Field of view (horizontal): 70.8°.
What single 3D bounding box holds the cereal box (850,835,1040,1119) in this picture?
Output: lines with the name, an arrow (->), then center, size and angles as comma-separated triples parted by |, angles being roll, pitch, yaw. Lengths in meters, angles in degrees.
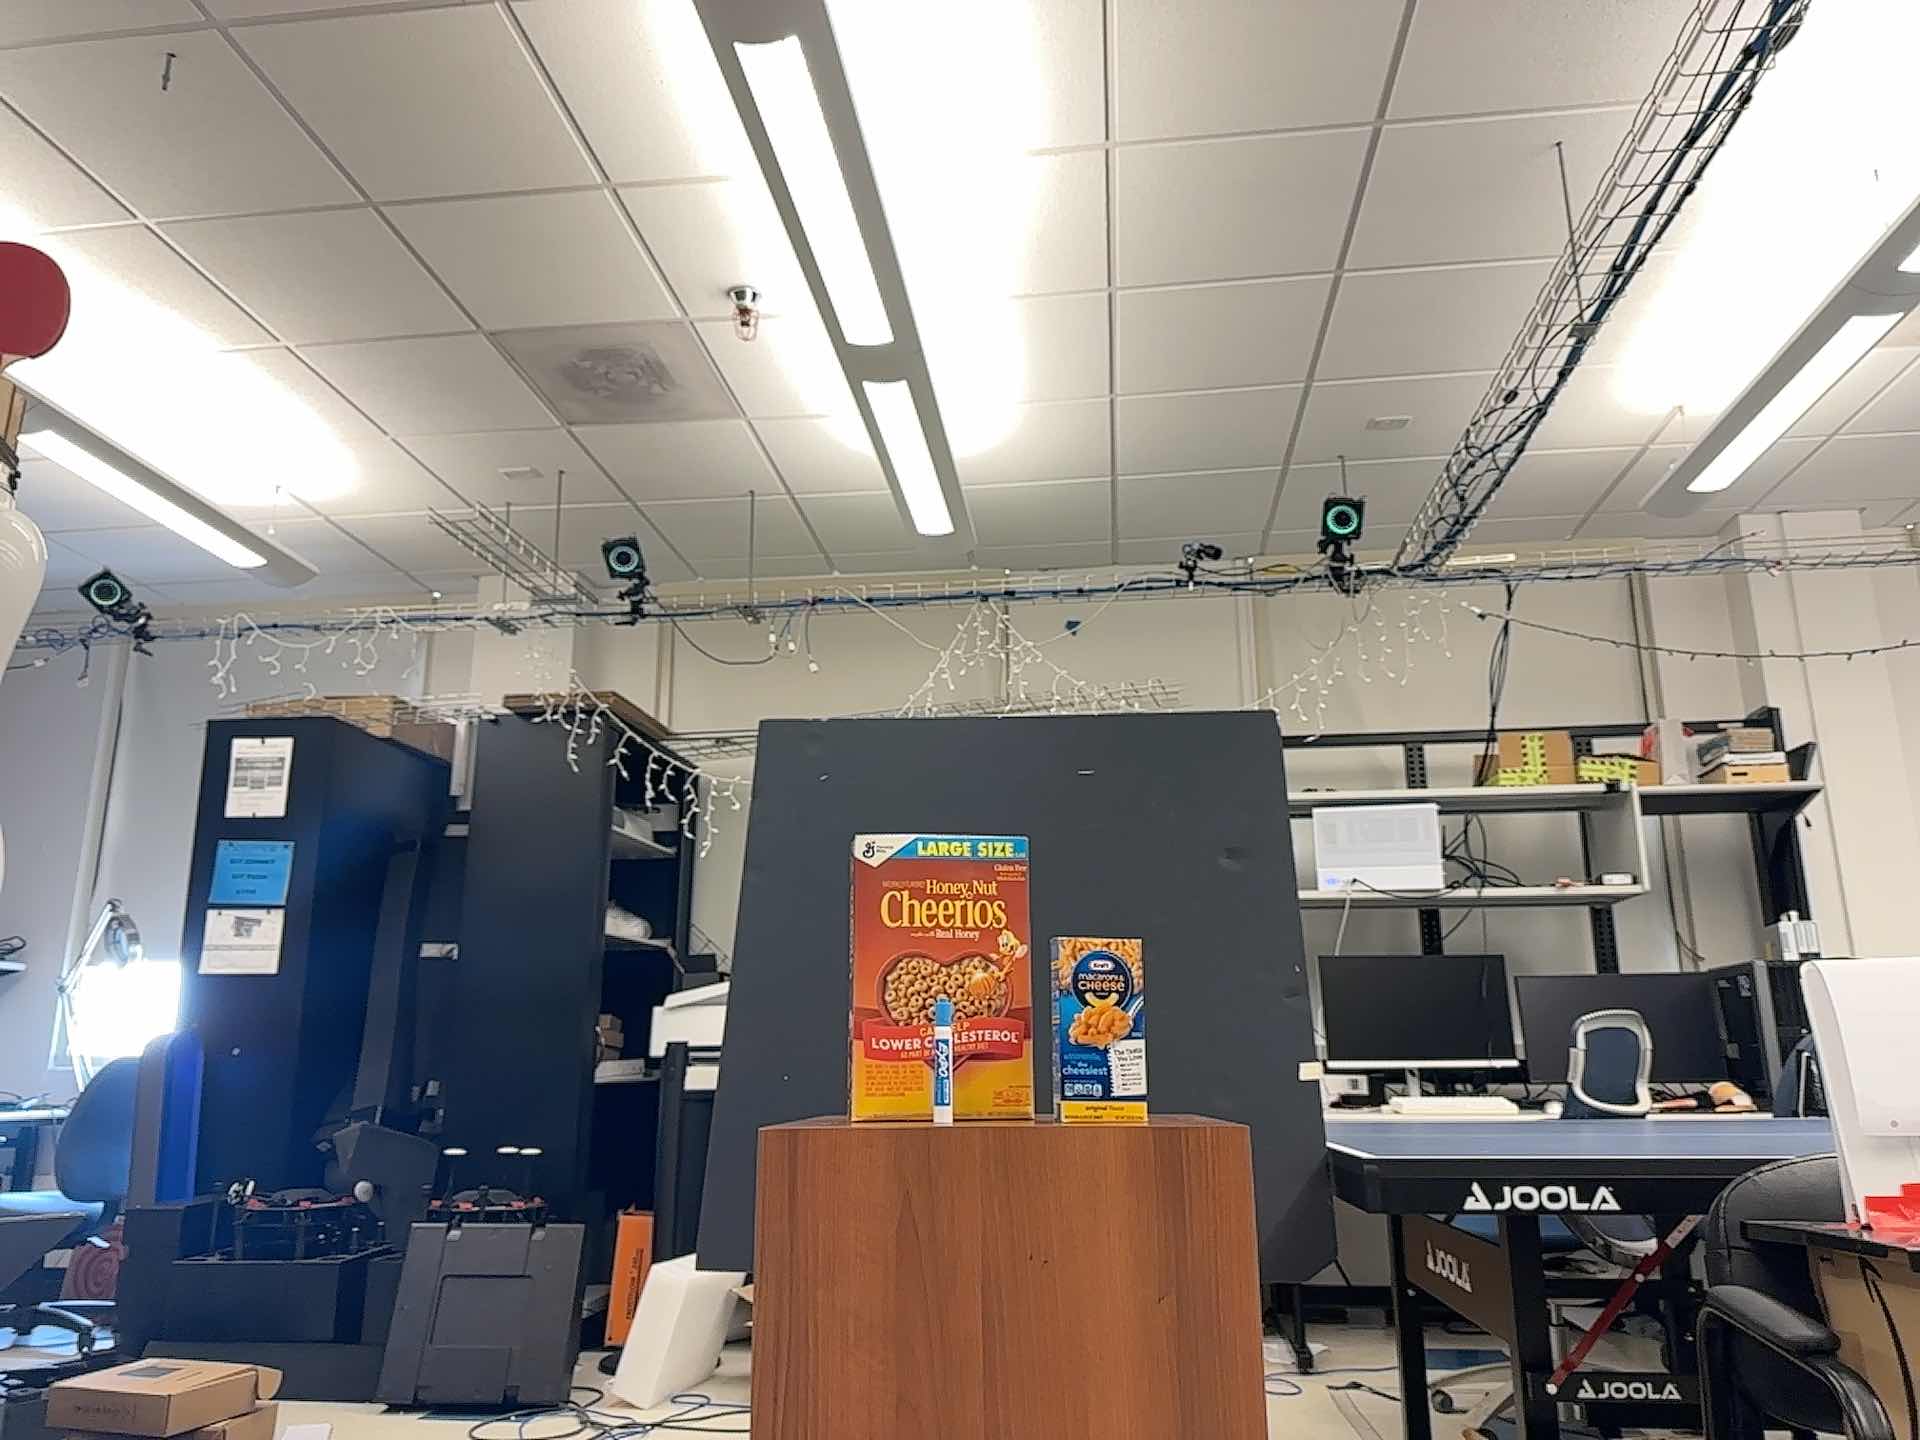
cereal box -> -0.018, 0.280, 1.489 | 0.195, 0.297, 0.065 | 2, -15, -5

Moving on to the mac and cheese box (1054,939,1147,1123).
mac and cheese box -> 0.145, 0.322, 1.403 | 0.088, 0.181, 0.035 | 0, -15, 1

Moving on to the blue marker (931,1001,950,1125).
blue marker -> -0.020, 0.346, 1.369 | 0.020, 0.121, 0.020 | 0, -13, 0
